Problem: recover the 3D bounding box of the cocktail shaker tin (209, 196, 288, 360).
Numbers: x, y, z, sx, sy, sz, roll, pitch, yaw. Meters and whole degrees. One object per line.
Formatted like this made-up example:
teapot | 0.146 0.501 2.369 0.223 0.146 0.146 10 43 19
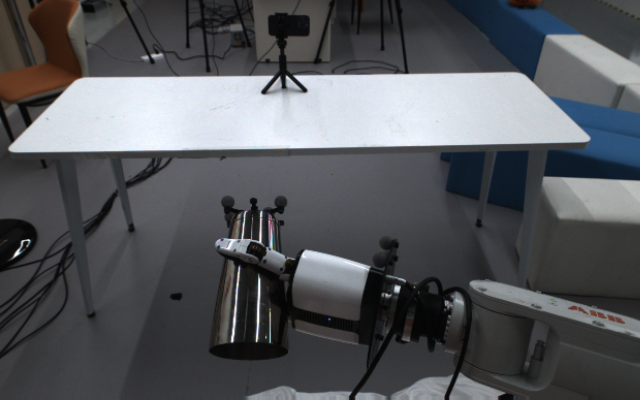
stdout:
cocktail shaker tin | -0.085 0.102 0.597 0.093 0.093 0.170 0 59 -3
